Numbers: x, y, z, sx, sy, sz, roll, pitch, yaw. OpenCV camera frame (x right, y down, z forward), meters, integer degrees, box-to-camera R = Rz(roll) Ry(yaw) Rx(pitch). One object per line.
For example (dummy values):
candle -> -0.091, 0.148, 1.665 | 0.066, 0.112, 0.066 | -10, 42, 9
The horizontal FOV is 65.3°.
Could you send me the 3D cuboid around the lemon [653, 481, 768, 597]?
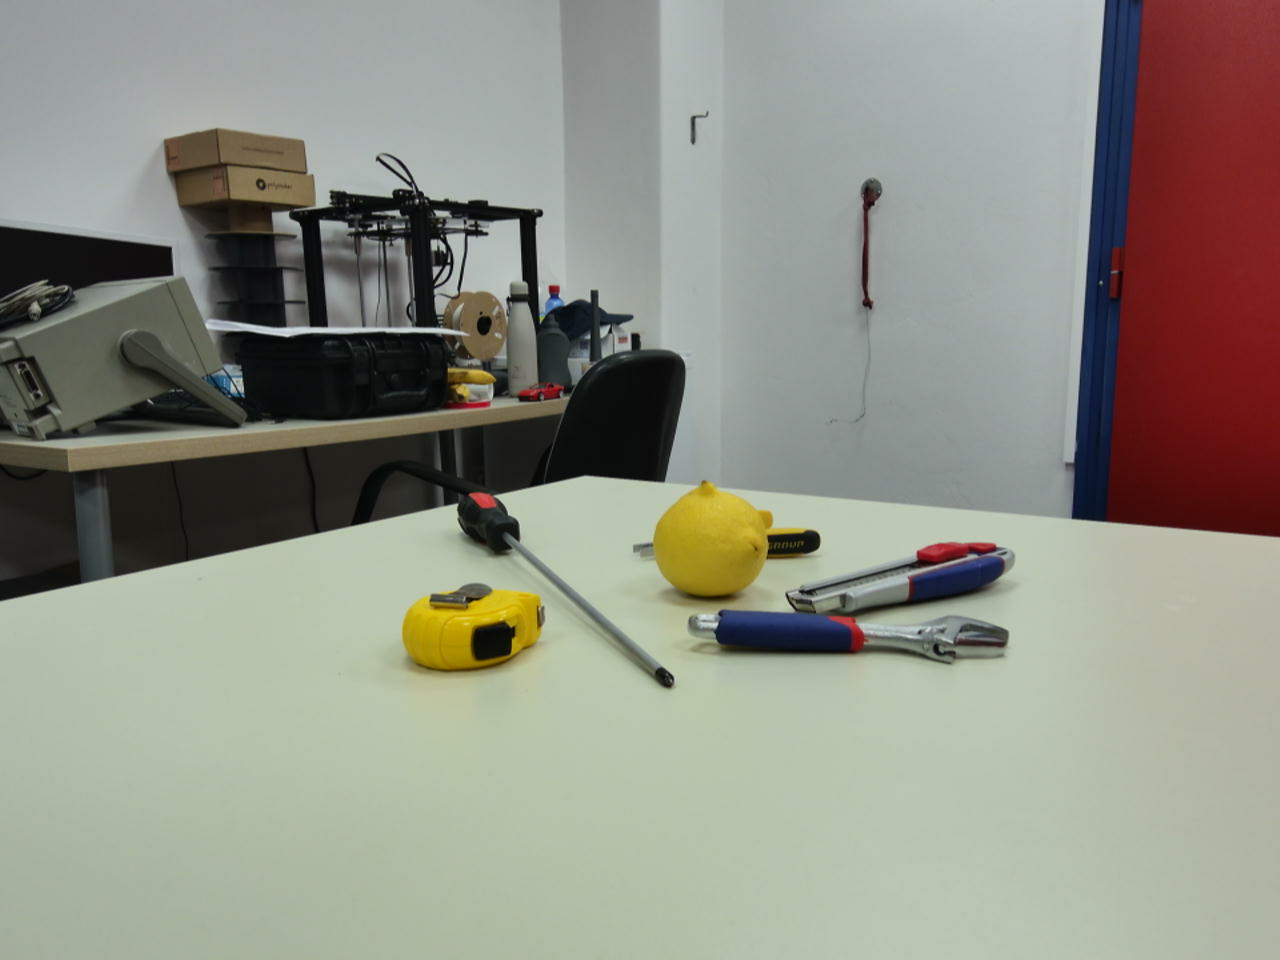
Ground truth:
lemon -> 0.043, 0.036, 0.621 | 0.070, 0.071, 0.071 | 0, 7, 1
